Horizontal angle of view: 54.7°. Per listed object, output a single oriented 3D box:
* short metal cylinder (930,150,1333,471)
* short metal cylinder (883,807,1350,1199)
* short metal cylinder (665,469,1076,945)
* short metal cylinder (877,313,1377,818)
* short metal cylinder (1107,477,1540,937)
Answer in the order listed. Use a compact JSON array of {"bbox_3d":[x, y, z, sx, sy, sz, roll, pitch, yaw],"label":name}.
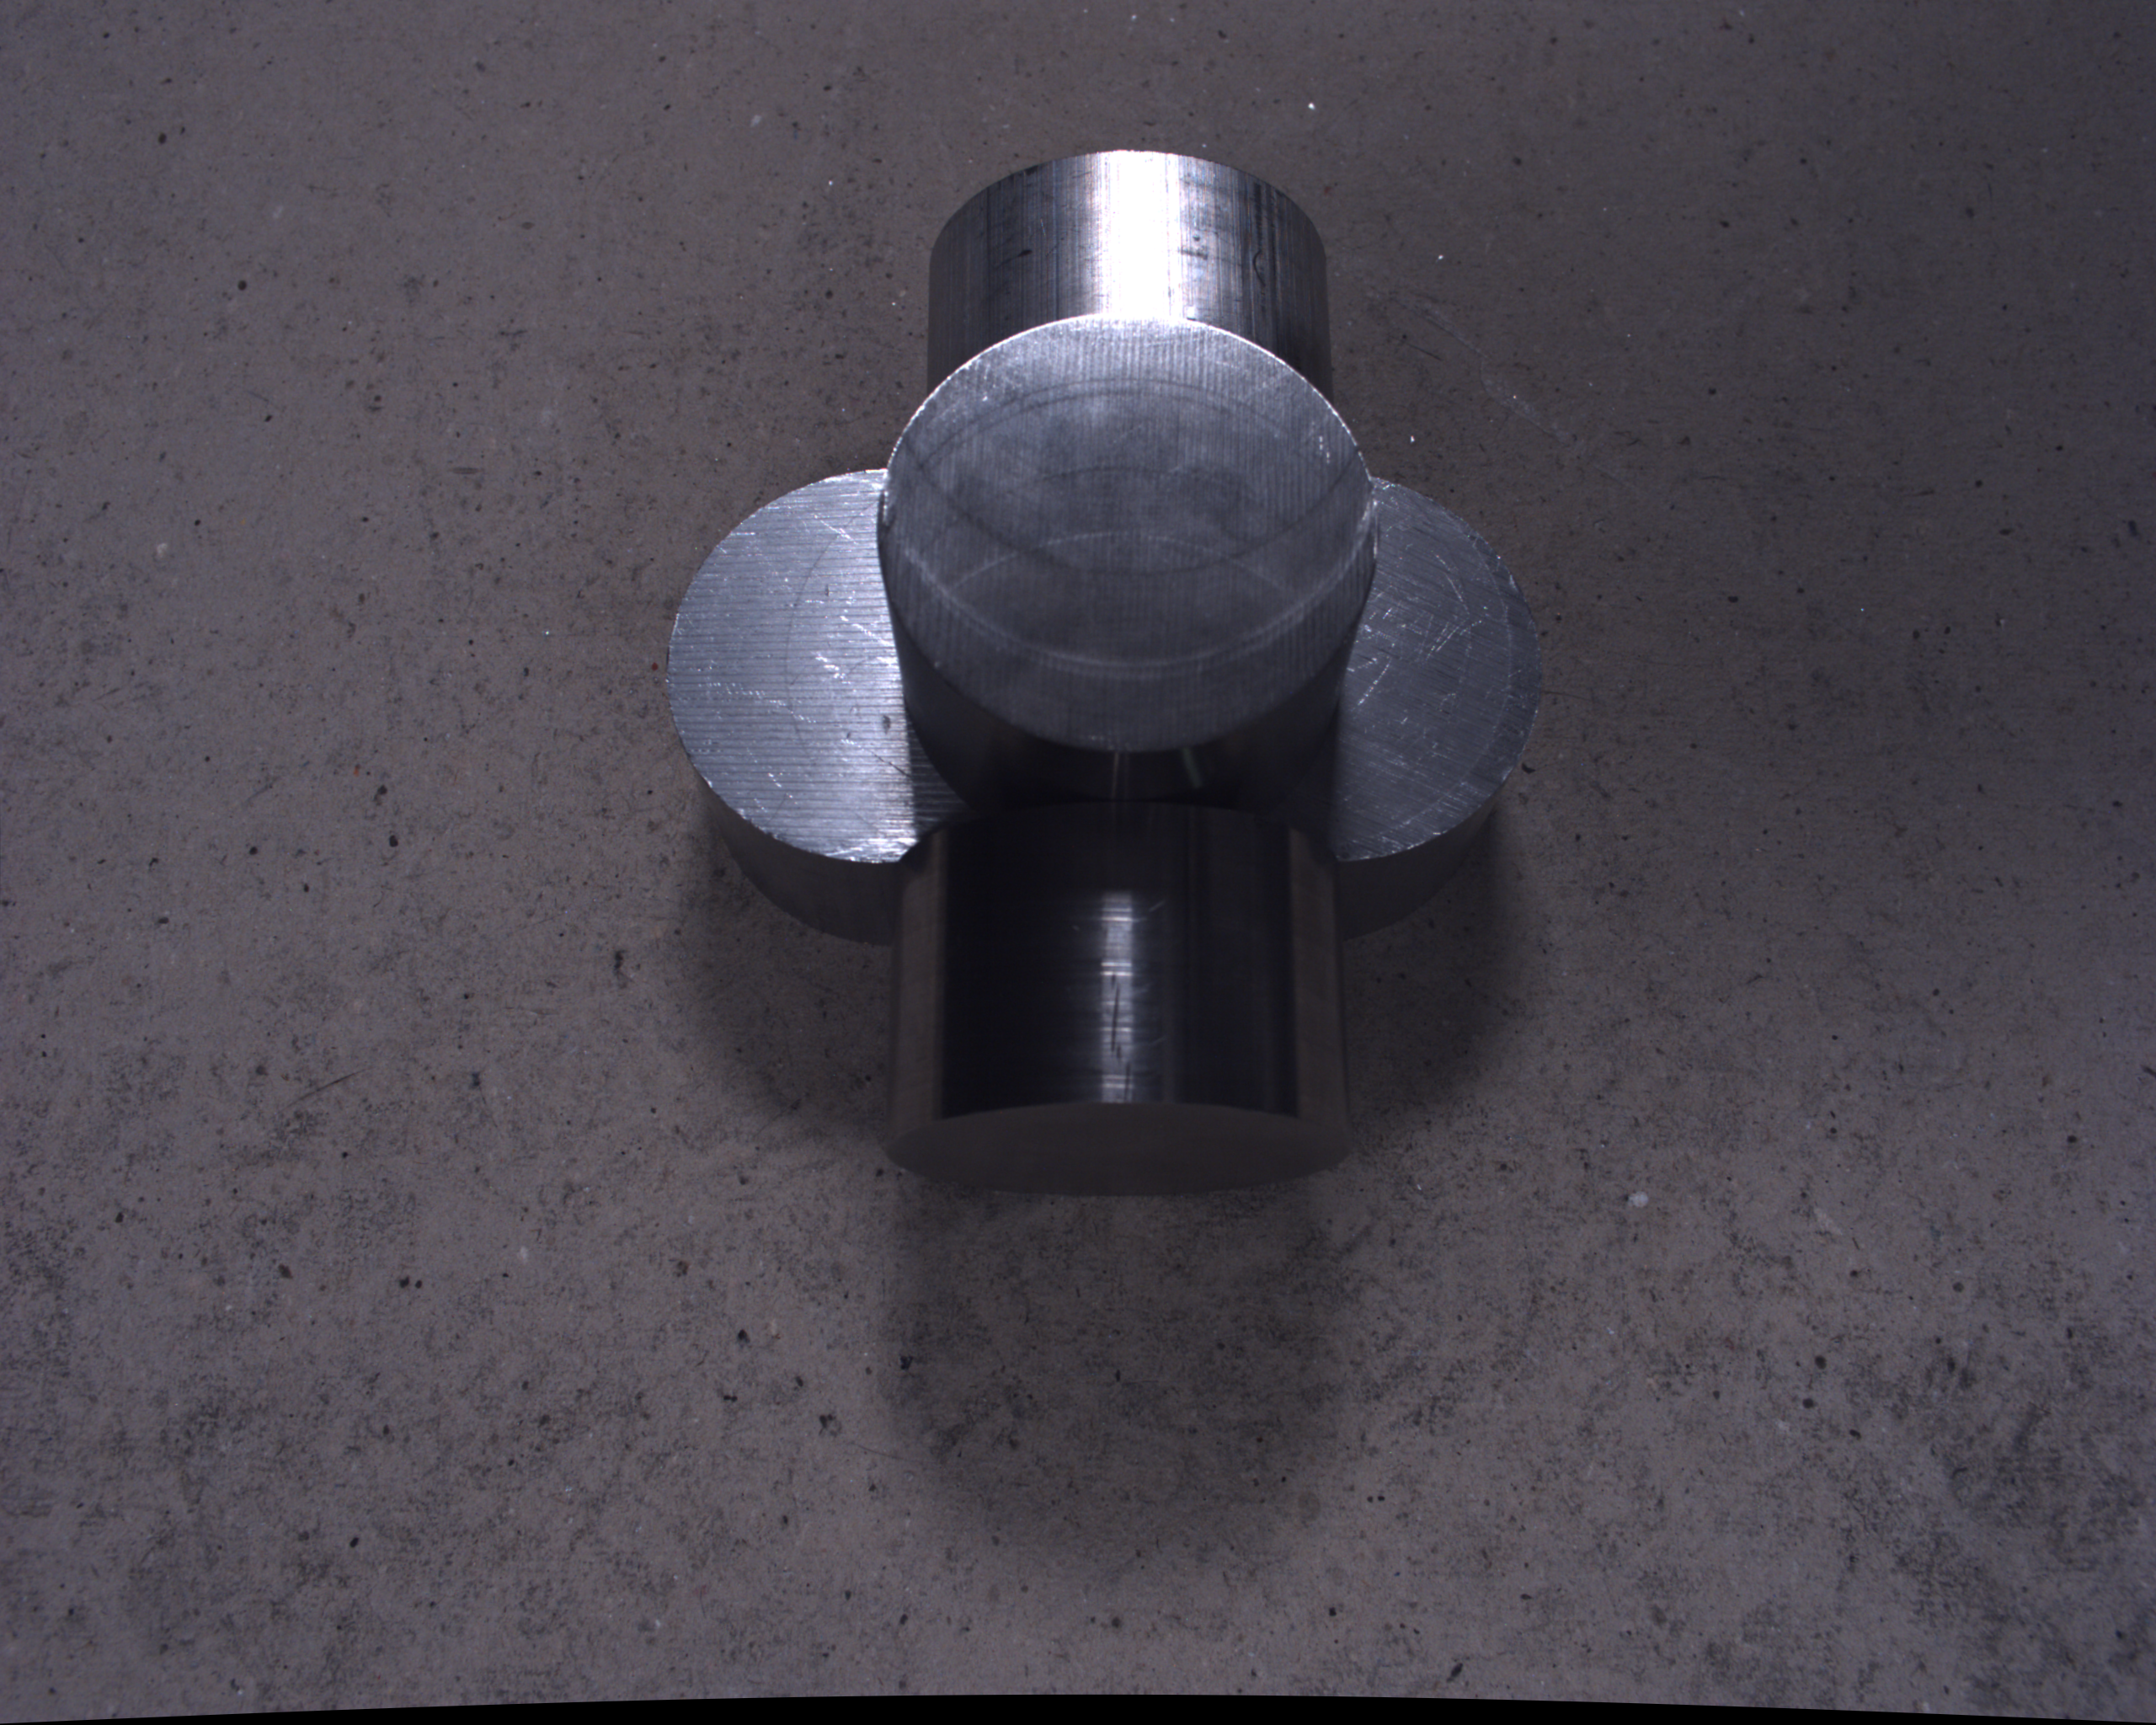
[{"bbox_3d":[0.010,-0.095,0.416,0.081,0.080,0.050,0,70,-1],"label":"short metal cylinder"},{"bbox_3d":[0.007,0.028,0.371,0.081,0.080,0.050,0,70,0],"label":"short metal cylinder"},{"bbox_3d":[-0.035,-0.029,0.406,0.081,0.050,0.080,0,70,0],"label":"short metal cylinder"},{"bbox_3d":[0.008,-0.046,0.359,0.081,0.050,0.080,0,70,0],"label":"short metal cylinder"},{"bbox_3d":[0.045,-0.030,0.407,0.081,0.050,0.080,0,70,0],"label":"short metal cylinder"}]
